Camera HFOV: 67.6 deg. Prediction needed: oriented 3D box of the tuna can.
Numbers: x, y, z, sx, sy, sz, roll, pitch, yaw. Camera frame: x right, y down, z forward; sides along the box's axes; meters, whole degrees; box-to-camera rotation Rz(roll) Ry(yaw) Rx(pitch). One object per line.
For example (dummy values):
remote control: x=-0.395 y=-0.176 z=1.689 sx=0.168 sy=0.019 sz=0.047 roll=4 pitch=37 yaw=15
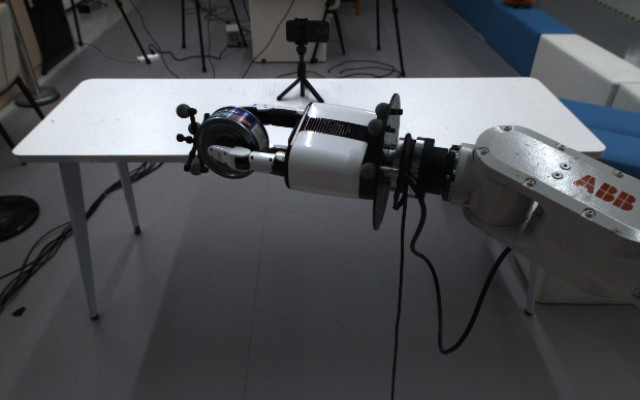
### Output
tuna can: x=-0.107 y=-0.071 z=0.599 sx=0.085 sy=0.085 sz=0.034 roll=9 pitch=33 yaw=10
